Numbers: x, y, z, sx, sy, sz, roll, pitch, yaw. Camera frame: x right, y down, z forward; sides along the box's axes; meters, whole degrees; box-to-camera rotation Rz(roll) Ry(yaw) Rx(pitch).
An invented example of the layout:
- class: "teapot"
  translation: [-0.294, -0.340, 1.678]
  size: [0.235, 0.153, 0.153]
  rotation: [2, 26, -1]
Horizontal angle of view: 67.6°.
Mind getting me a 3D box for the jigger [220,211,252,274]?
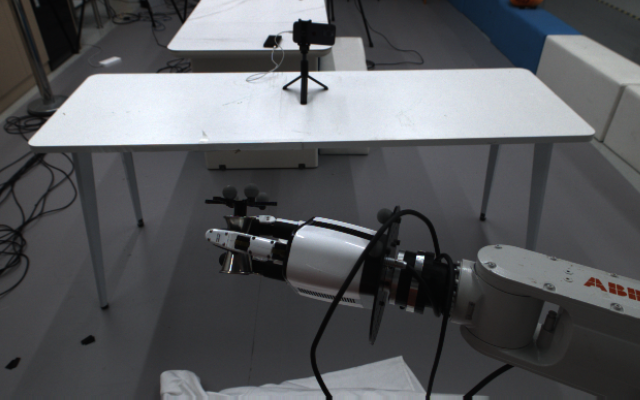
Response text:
- class: "jigger"
  translation: [-0.098, 0.054, 0.589]
  size: [0.043, 0.071, 0.043]
  rotation: [2, -6, 0]
